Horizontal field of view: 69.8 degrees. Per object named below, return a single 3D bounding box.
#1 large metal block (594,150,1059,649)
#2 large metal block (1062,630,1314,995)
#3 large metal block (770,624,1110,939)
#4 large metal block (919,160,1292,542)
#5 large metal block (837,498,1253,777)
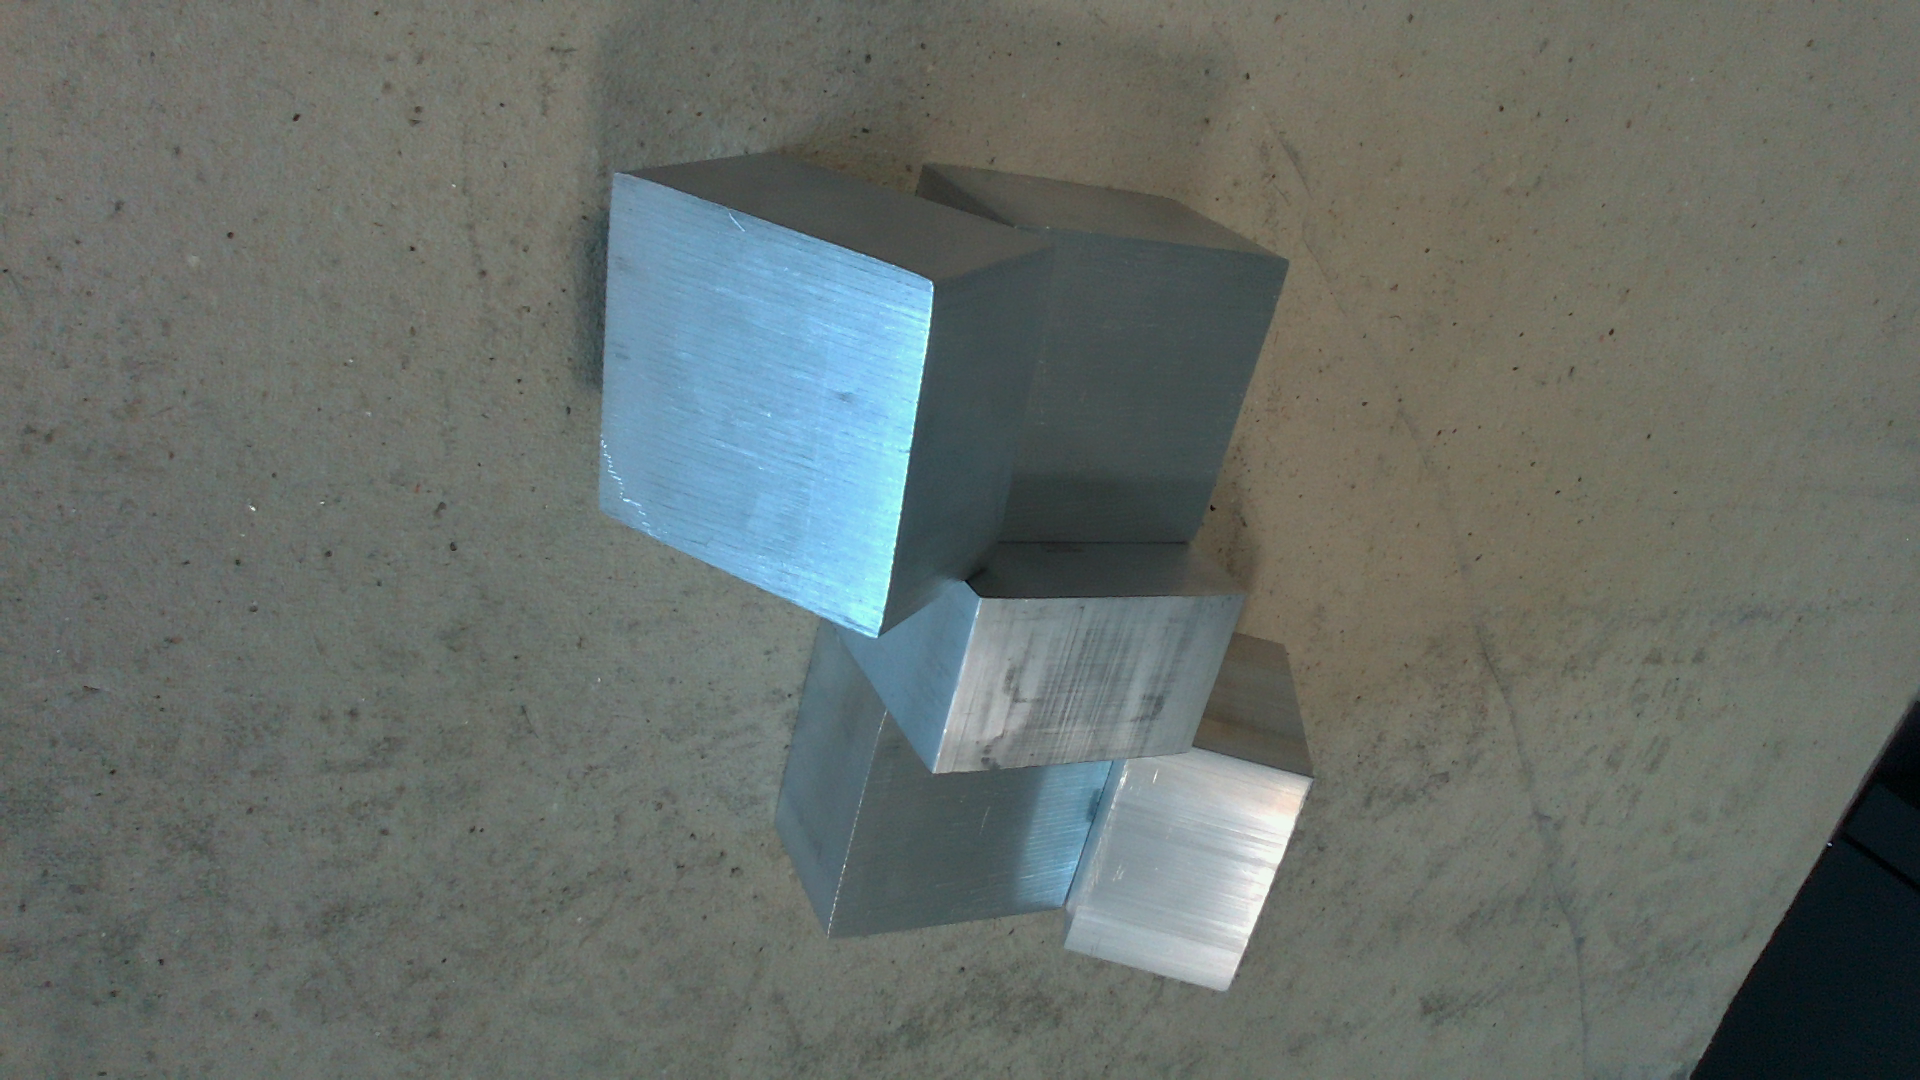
[{"bbox_3d":[-0.032,-0.035,0.306,0.050,0.080,0.080,-32,139,-54],"label":"large metal block"},{"bbox_3d":[0.068,0.078,0.430,0.050,0.080,0.080,15,115,0],"label":"large metal block"},{"bbox_3d":[-0.004,0.067,0.412,0.080,0.050,0.080,1,119,-28],"label":"large metal block"},{"bbox_3d":[0.028,-0.047,0.357,0.080,0.050,0.080,1,118,-28],"label":"large metal block"},{"bbox_3d":[0.017,0.017,0.374,0.080,0.080,0.050,0,118,-28],"label":"large metal block"}]
